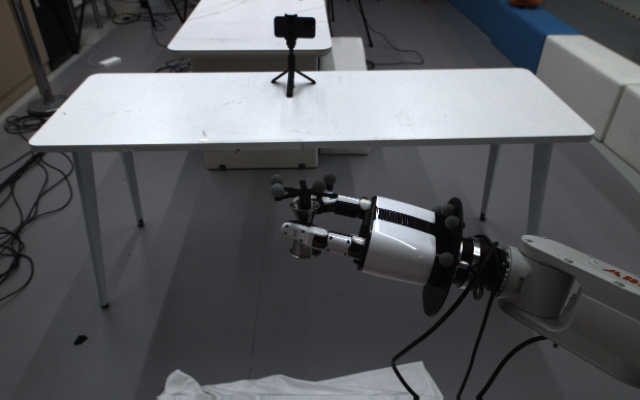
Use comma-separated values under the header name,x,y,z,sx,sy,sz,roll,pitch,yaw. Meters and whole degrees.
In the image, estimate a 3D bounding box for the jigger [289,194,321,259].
name,x,y,z,sx,sy,sz,roll,pitch,yaw
jigger,-0.020,0.038,0.639,0.043,0.071,0.043,0,21,0
